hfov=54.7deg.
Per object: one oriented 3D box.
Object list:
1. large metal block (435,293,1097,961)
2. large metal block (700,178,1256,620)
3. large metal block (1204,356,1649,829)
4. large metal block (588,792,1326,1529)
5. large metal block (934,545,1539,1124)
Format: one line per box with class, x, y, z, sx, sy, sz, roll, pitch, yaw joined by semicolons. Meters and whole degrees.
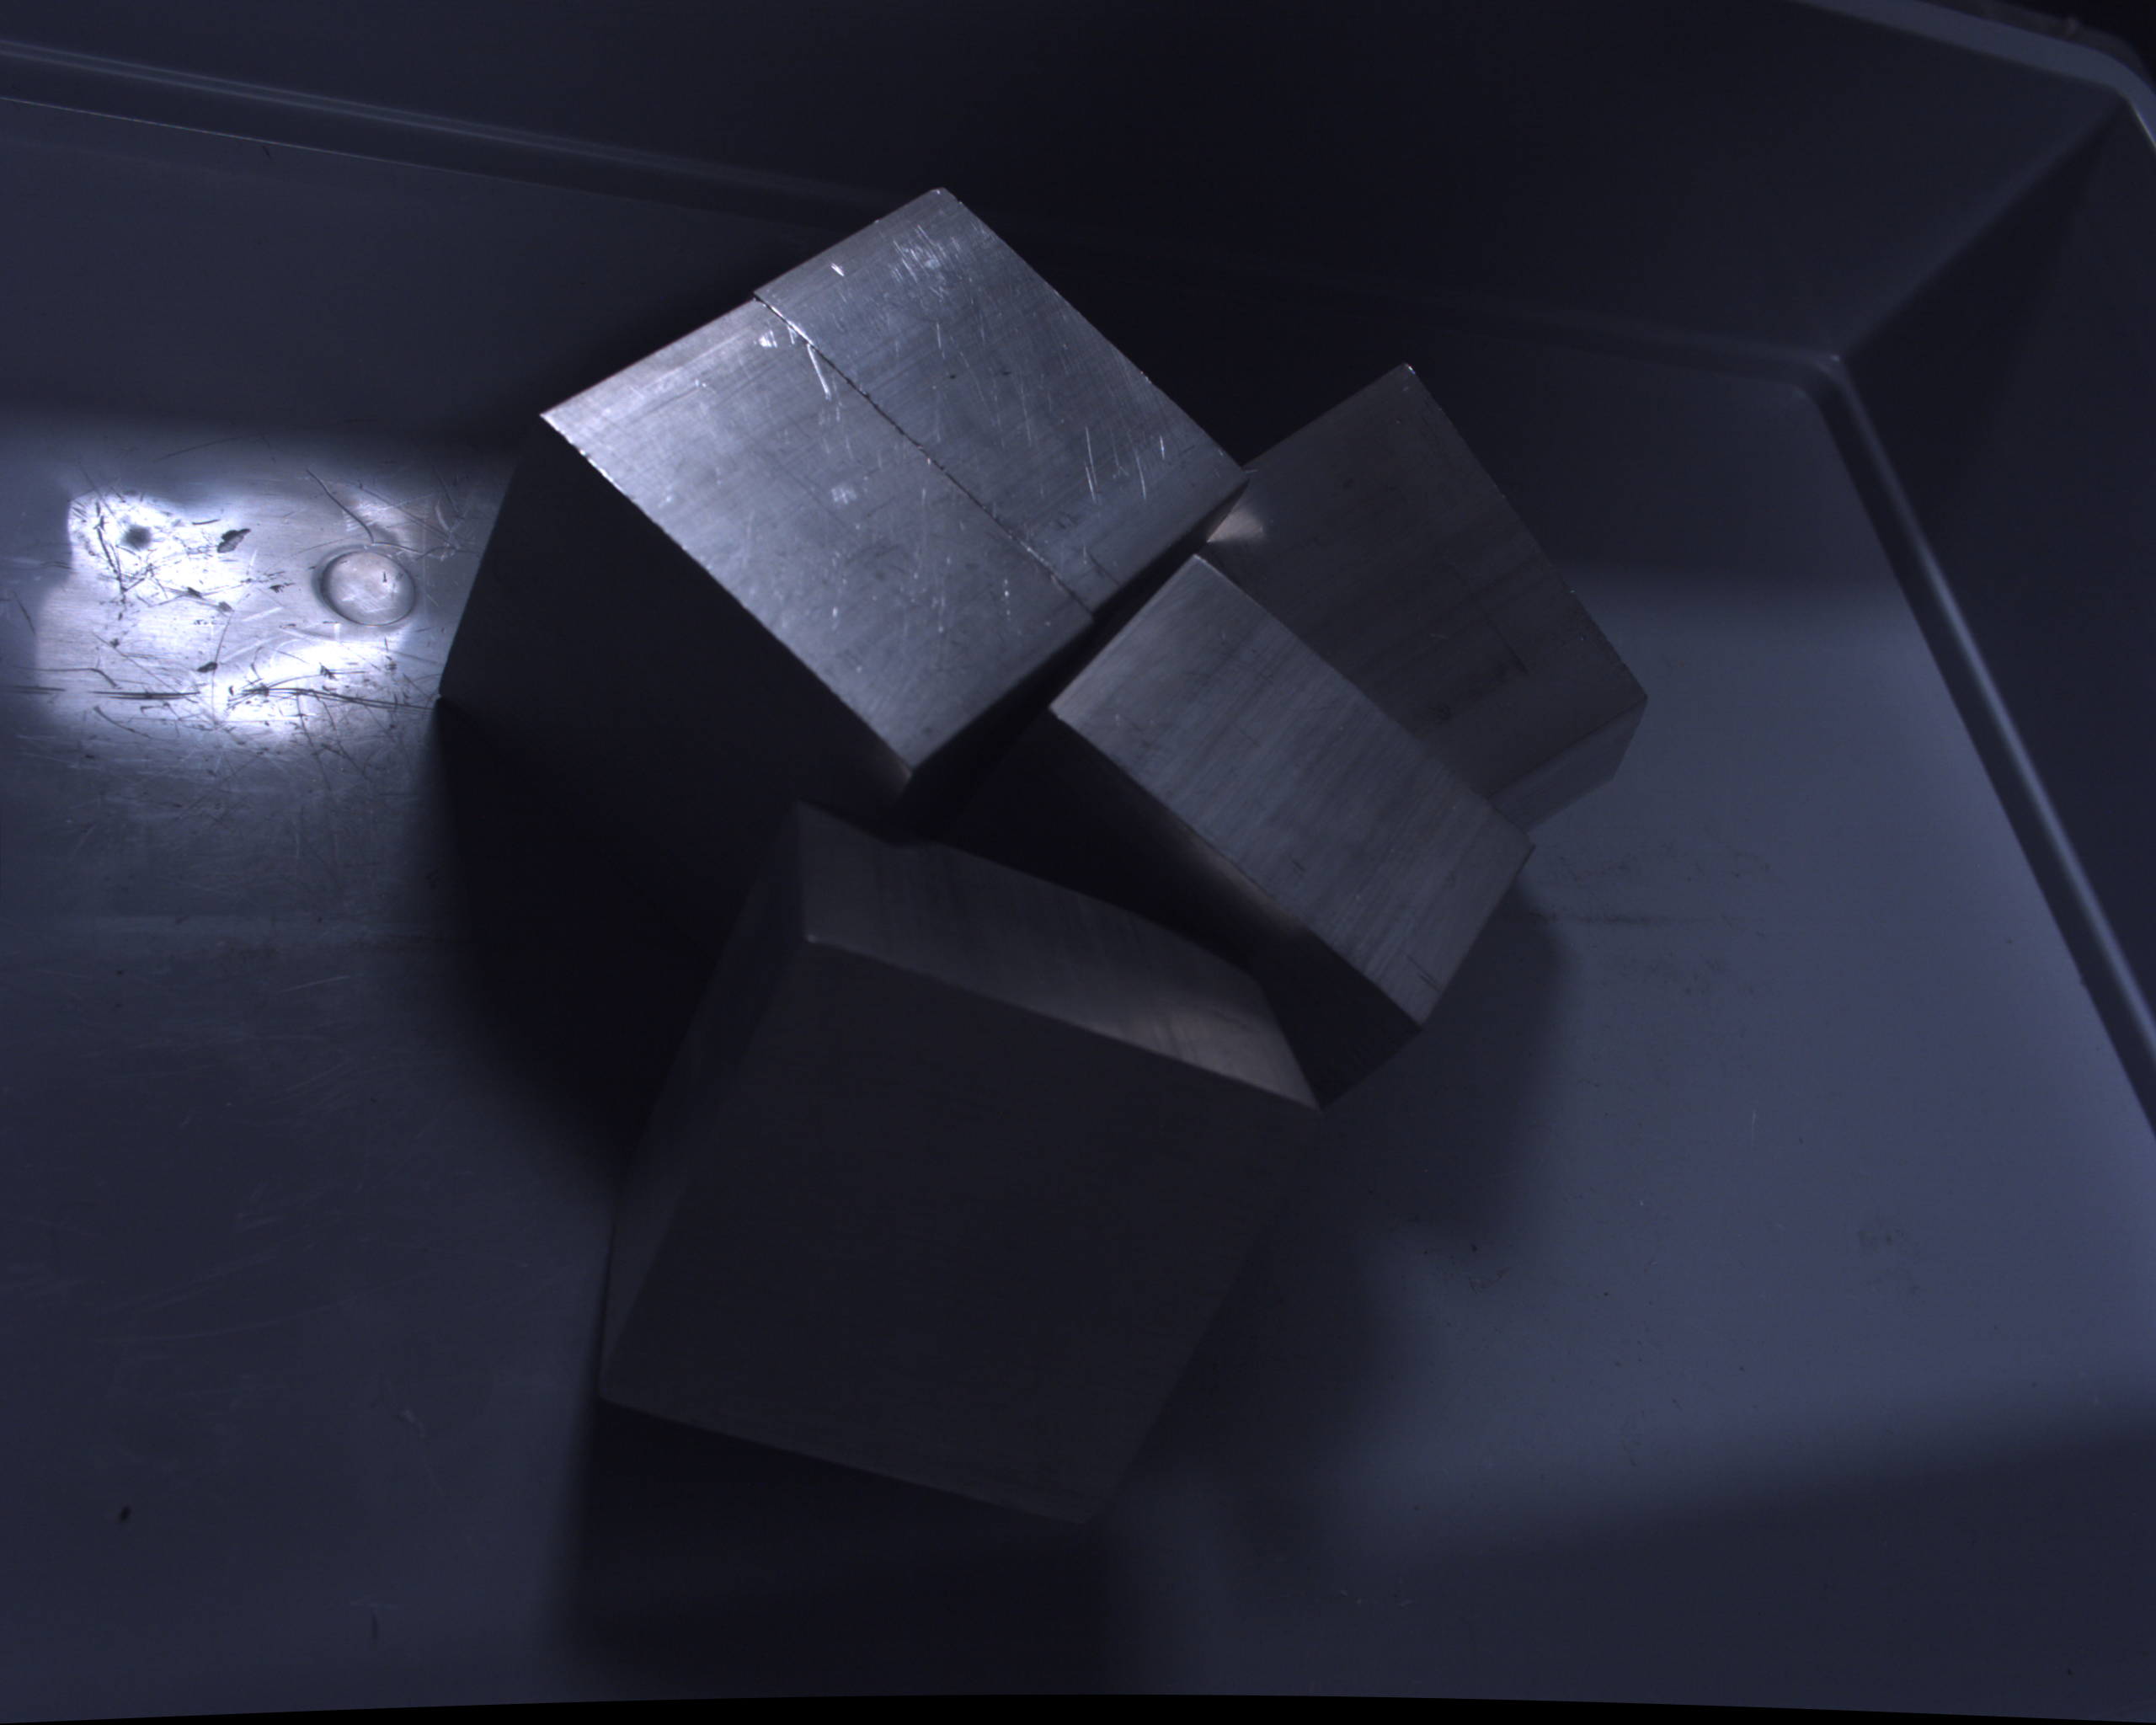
large metal block;-0.057;-0.035;0.361;0.080;0.080;0.050;44;51;2
large metal block;-0.027;-0.065;0.394;0.080;0.080;0.050;44;51;1
large metal block;0.067;-0.043;0.424;0.050;0.080;0.080;-33;77;3
large metal block;-0.021;0.046;0.322;0.080;0.079;0.050;20;19;-17
large metal block;0.020;0.004;0.378;0.080;0.080;0.050;41;51;-1
